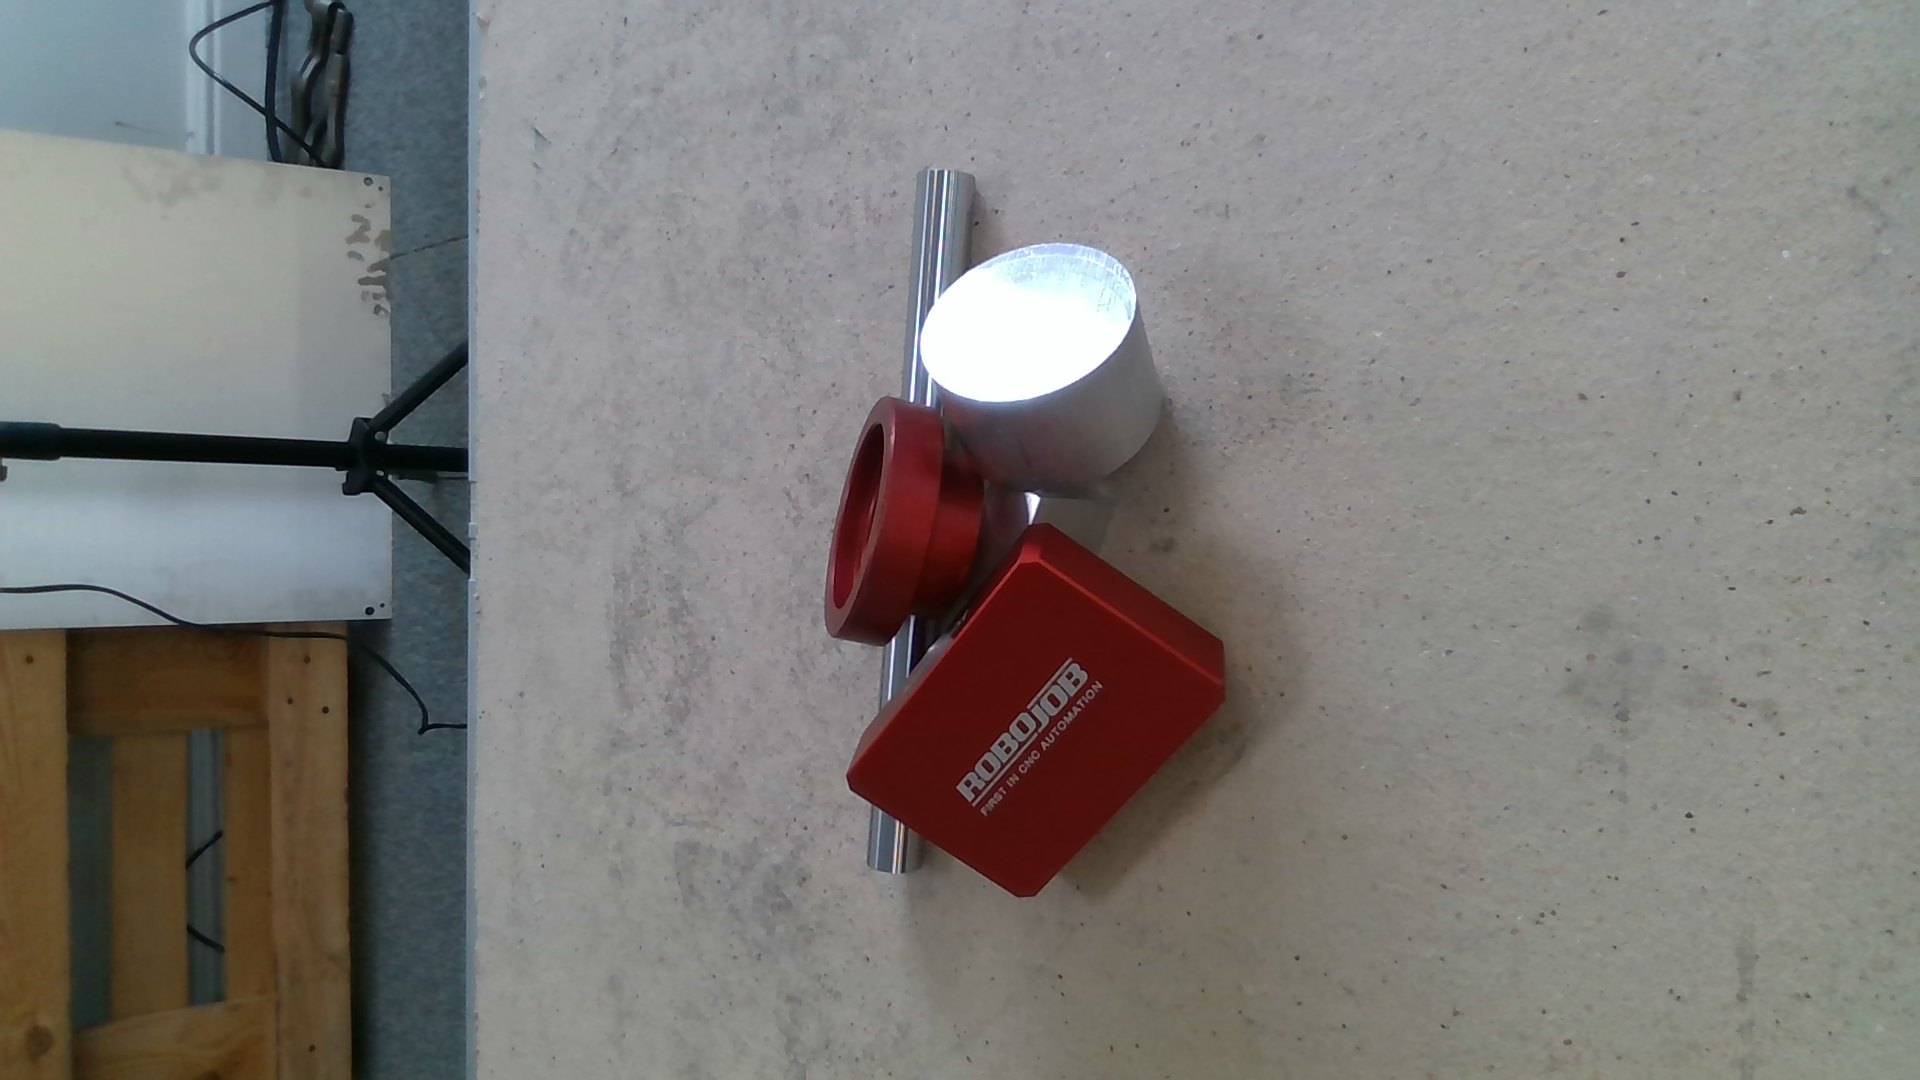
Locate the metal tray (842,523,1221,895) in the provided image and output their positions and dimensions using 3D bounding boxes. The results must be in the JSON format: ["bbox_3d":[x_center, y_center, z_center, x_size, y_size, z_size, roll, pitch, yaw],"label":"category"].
[{"bbox_3d":[0.026,0.067,0.525,0.090,0.030,0.130,34,118,-7],"label":"metal tray"}]

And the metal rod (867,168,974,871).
[{"bbox_3d":[-0.017,-0.007,0.598,0.025,0.025,0.300,8,96,40],"label":"metal rod"}]

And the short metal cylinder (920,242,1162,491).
[{"bbox_3d":[0.031,-0.065,0.514,0.080,0.050,0.080,-11,49,13],"label":"short metal cylinder"}]

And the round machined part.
[{"bbox_3d":[-0.021,-0.006,0.549,0.098,0.042,0.098,-169,91,-75],"label":"round machined part"}]

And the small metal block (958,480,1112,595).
[{"bbox_3d":[0.028,0.001,0.541,0.025,0.050,0.050,30,109,36],"label":"small metal block"}]
